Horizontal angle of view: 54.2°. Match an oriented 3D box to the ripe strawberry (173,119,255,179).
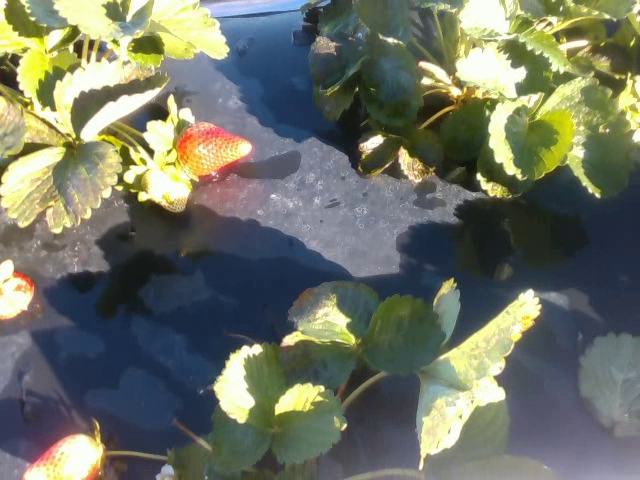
[{"bbox_3d":[-0.078,-0.069,0.466,0.064,0.050,0.052,-1,5,10],"label":"ripe strawberry"}]
